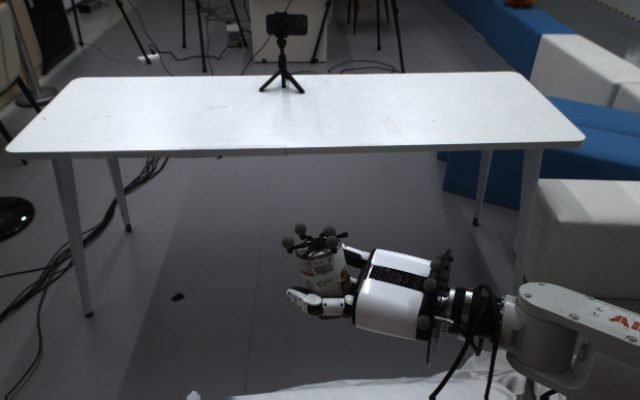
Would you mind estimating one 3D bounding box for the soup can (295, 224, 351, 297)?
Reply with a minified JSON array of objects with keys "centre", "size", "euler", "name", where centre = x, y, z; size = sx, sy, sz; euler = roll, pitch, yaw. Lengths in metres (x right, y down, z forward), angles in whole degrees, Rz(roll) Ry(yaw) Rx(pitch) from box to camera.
[{"centre":[0.010,0.110,0.690],"size":[0.067,0.101,0.067],"euler":[-12,19,4],"name":"soup can"}]
